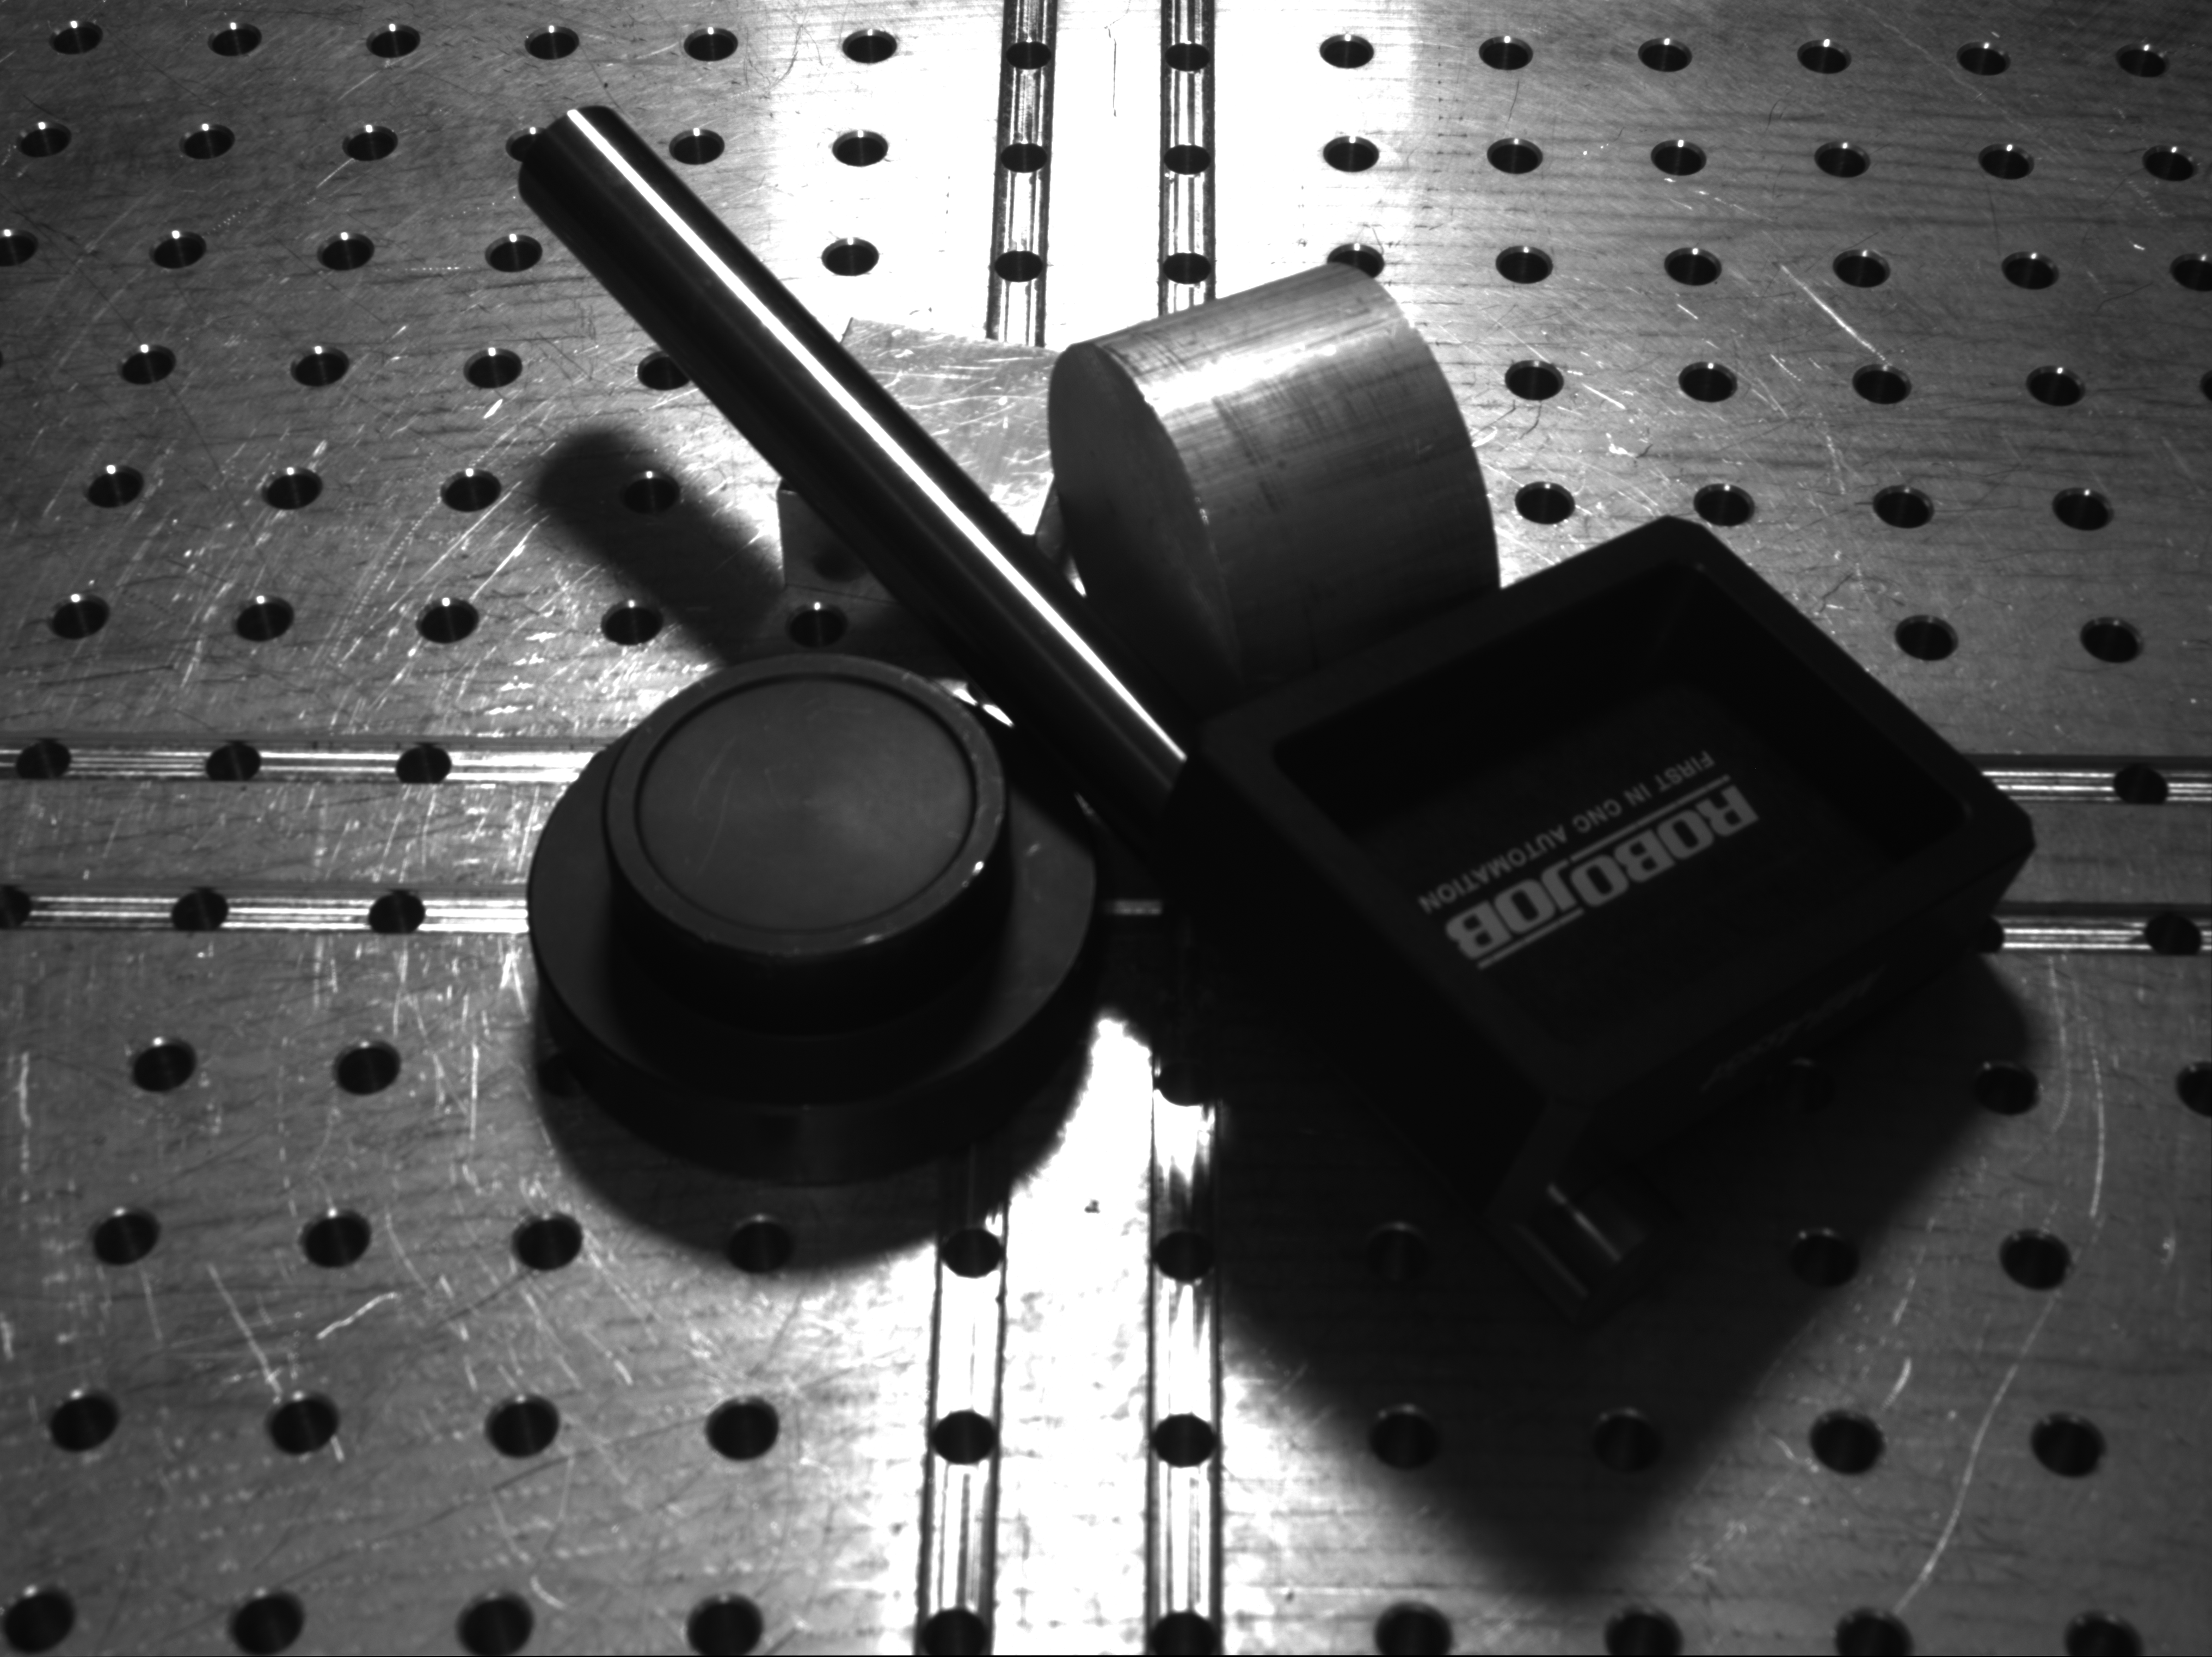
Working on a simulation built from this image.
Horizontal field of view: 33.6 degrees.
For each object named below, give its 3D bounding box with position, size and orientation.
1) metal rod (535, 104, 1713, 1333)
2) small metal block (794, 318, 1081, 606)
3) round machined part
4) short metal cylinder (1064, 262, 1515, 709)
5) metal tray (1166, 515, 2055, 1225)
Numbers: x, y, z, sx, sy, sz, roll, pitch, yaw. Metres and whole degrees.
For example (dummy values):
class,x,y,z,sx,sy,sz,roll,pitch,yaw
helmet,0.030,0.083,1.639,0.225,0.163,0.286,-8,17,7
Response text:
class,x,y,z,sx,sy,sz,roll,pitch,yaw
metal rod,-0.006,-0.028,0.647,0.025,0.025,0.299,-32,65,-24
small metal block,-0.028,-0.068,0.704,0.050,0.025,0.050,10,51,9
round machined part,-0.047,0.008,0.626,0.098,0.042,0.098,0,50,0
short metal cylinder,0.032,-0.056,0.656,0.050,0.080,0.080,-20,53,-16
metal tray,0.086,0.003,0.612,0.130,0.030,0.090,-25,60,-38
